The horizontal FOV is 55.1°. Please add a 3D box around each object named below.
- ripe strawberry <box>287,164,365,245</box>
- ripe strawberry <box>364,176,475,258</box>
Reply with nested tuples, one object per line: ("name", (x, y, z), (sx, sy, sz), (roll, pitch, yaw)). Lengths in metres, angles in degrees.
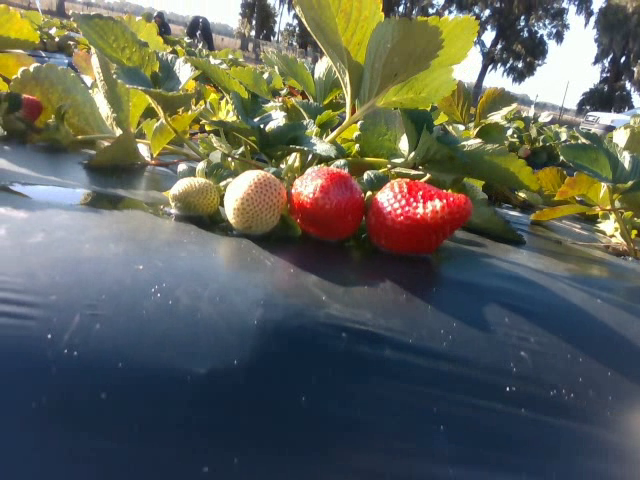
("ripe strawberry", (0.002, -0.021, 0.311), (0.050, 0.044, 0.061), (33, 5, 8))
("ripe strawberry", (0.056, -0.013, 0.313), (0.056, 0.052, 0.067), (-31, 12, -35))
